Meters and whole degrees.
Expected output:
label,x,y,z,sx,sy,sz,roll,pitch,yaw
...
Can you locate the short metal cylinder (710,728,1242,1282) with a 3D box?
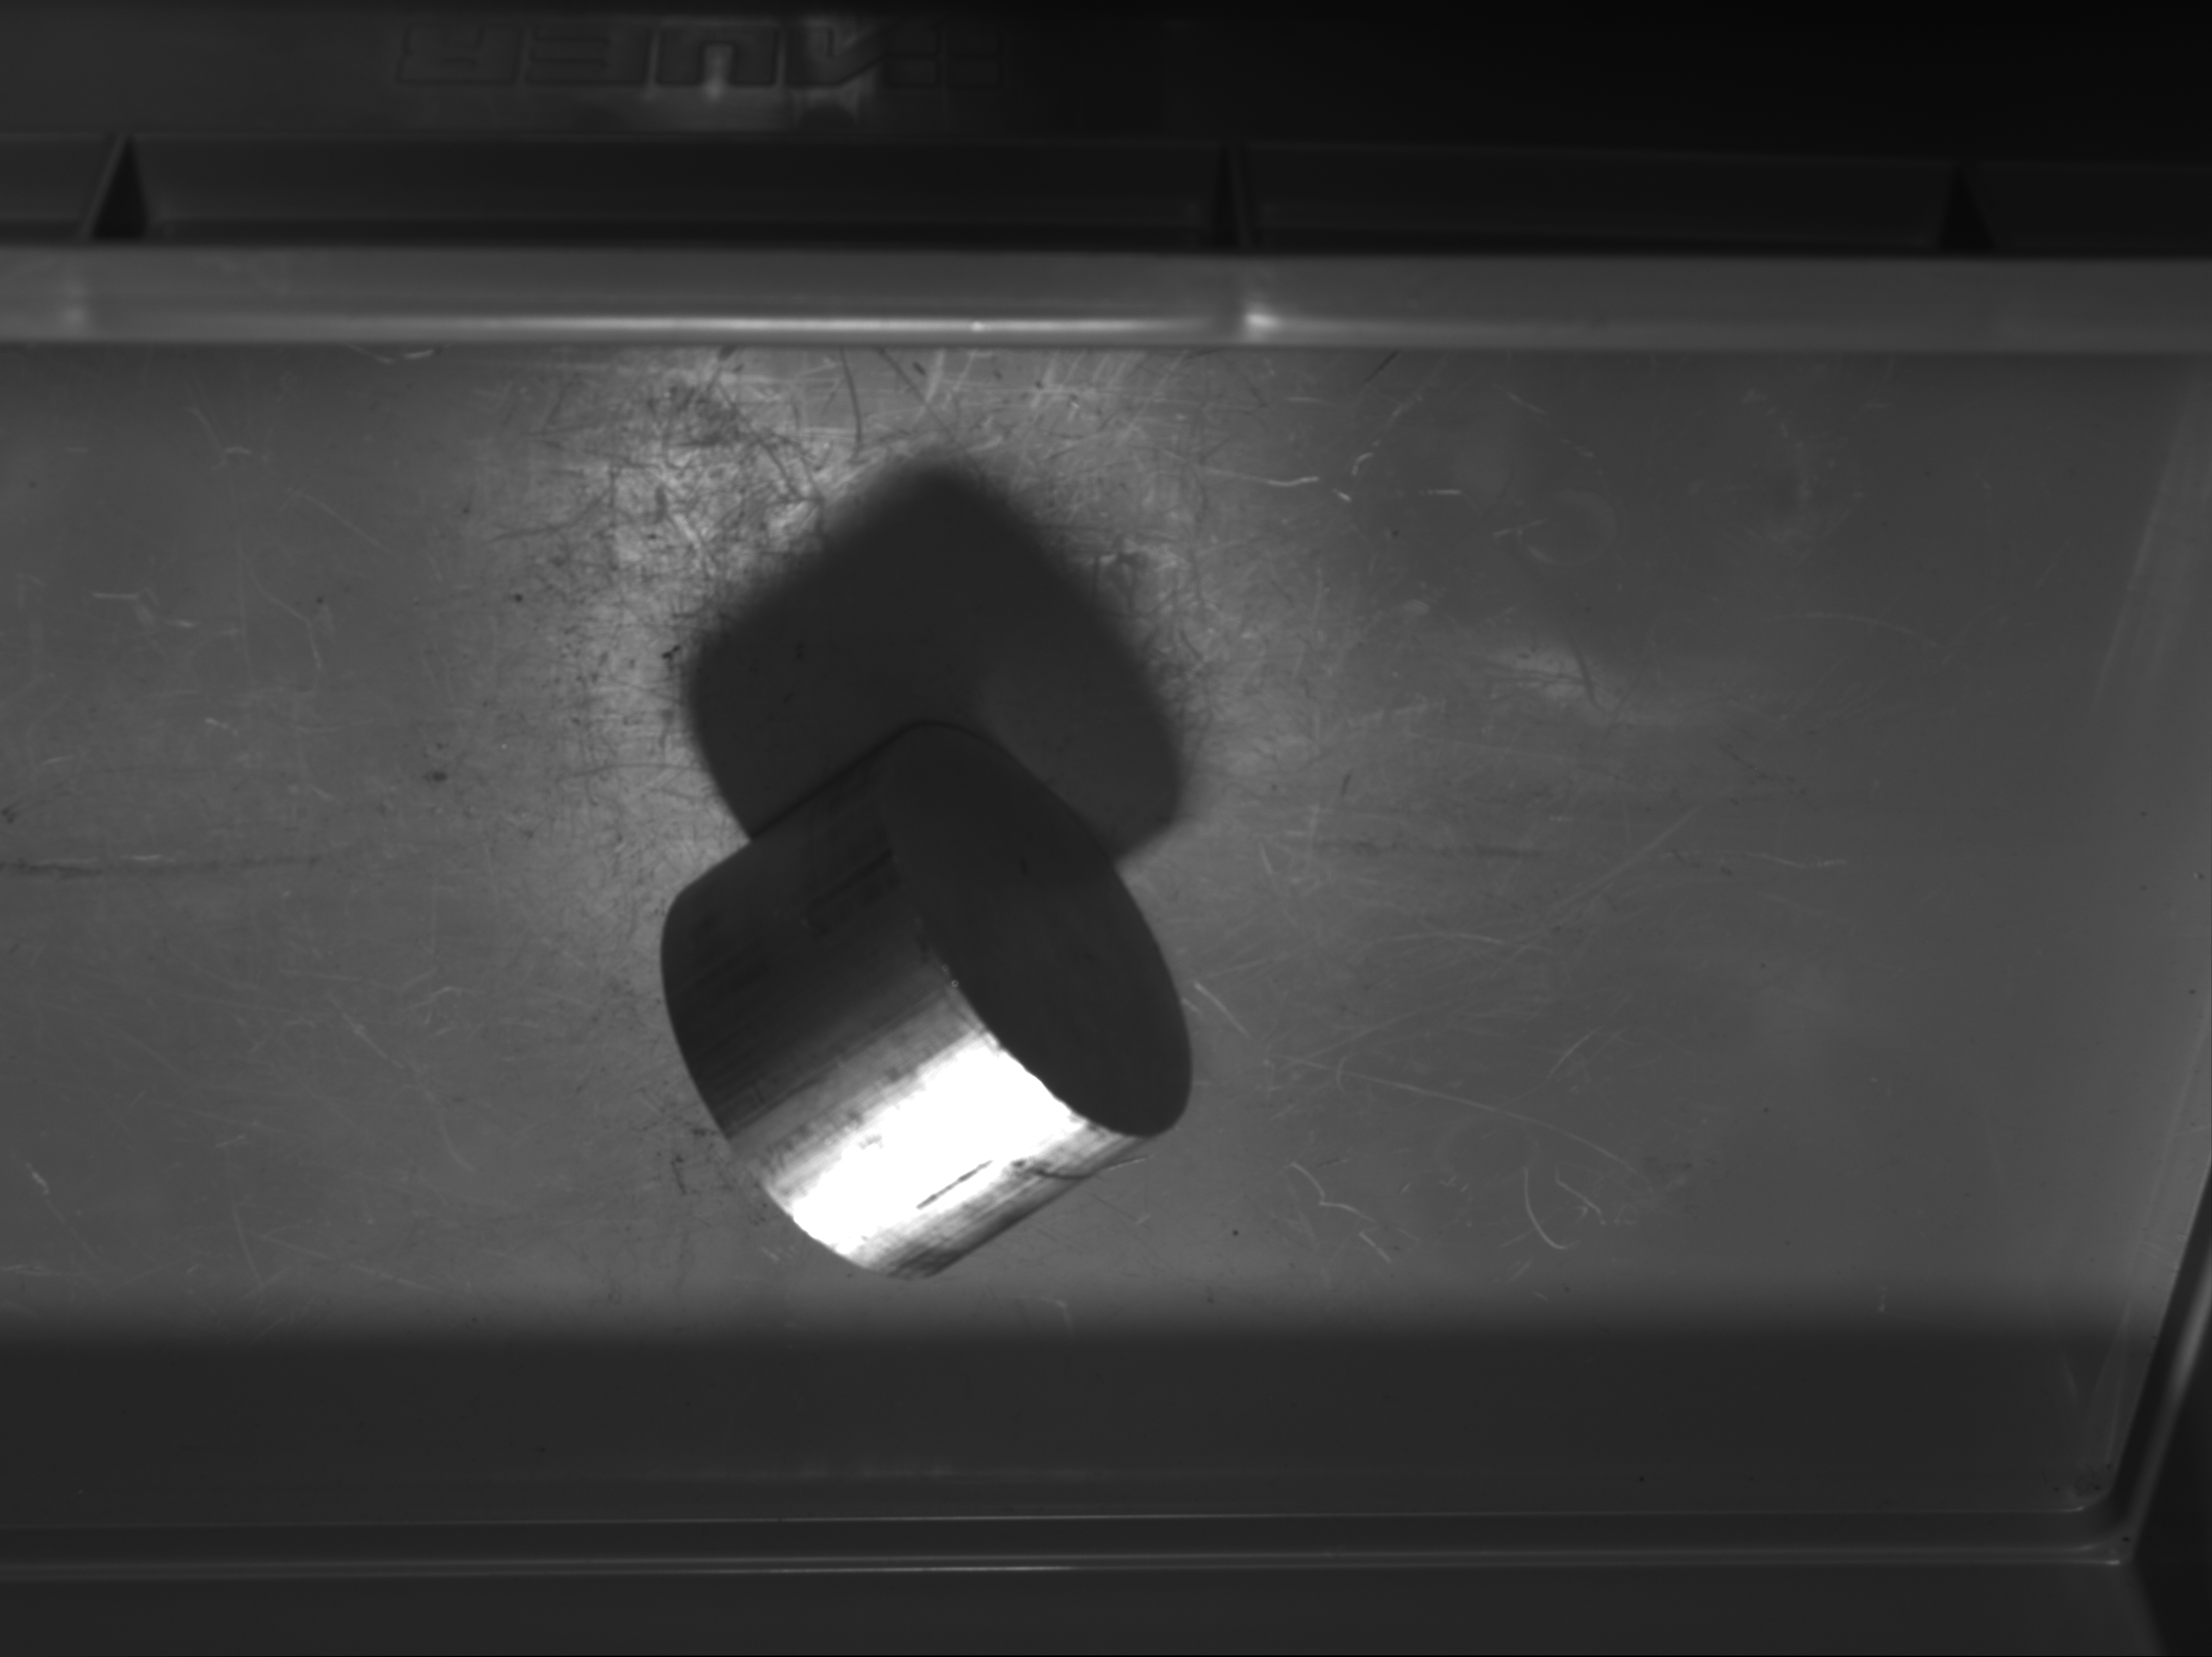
label,x,y,z,sx,sy,sz,roll,pitch,yaw
short metal cylinder,-0.021,0.030,0.624,0.050,0.080,0.080,-34,123,24
